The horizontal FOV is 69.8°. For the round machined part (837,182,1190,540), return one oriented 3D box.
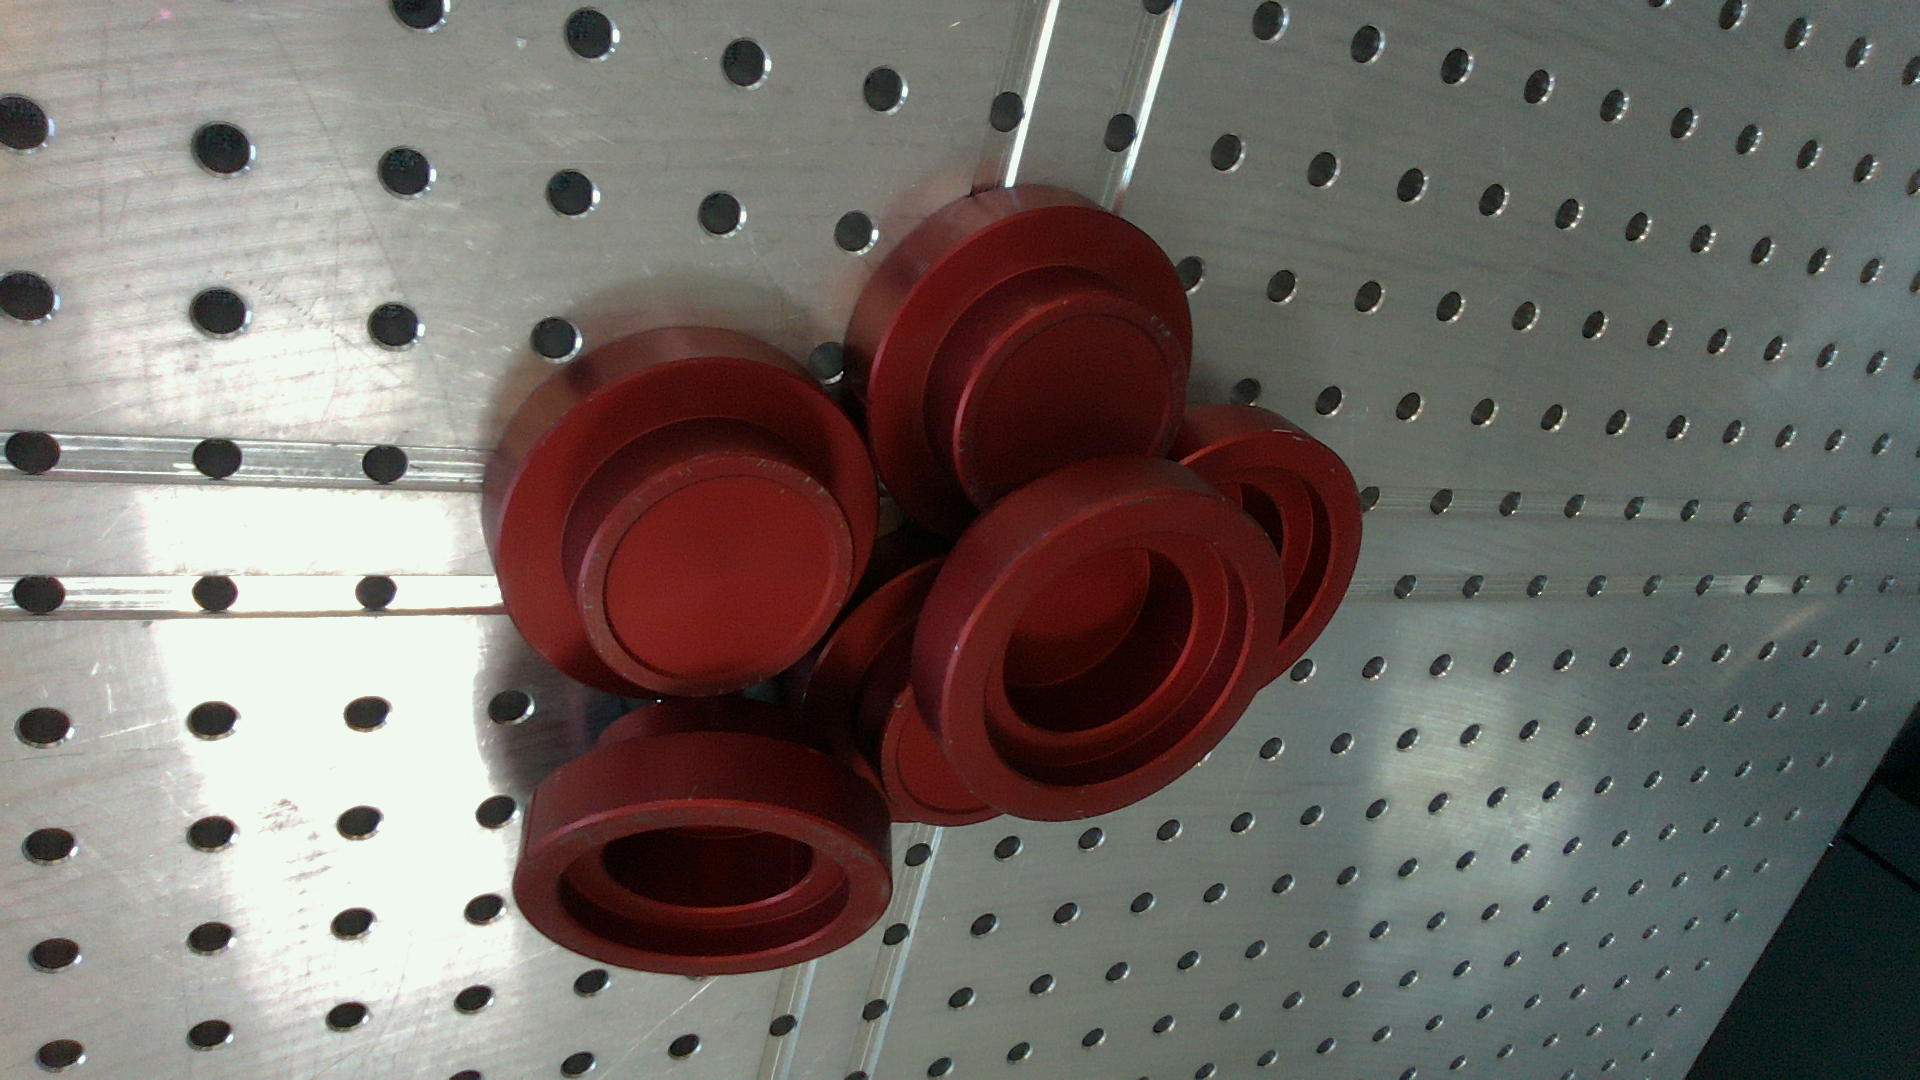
[{"bbox_3d":[0.020,-0.041,0.367,0.098,0.042,0.098,-14,124,-21],"label":"round machined part"}]

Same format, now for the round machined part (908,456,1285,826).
[{"bbox_3d":[0.031,0.022,0.356,0.098,0.042,0.098,-14,124,-21],"label":"round machined part"}]

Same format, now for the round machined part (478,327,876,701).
[{"bbox_3d":[-0.066,0.000,0.345,0.098,0.042,0.098,-14,124,-21],"label":"round machined part"}]

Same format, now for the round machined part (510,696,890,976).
[{"bbox_3d":[-0.069,0.079,0.375,0.098,0.042,0.098,-4,139,-3],"label":"round machined part"}]

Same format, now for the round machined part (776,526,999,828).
[{"bbox_3d":[-0.001,0.046,0.408,0.098,0.042,0.098,-14,124,-21],"label":"round machined part"}]

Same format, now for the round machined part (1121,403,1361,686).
[{"bbox_3d":[0.070,0.003,0.420,0.098,0.042,0.098,-14,124,-21],"label":"round machined part"}]
